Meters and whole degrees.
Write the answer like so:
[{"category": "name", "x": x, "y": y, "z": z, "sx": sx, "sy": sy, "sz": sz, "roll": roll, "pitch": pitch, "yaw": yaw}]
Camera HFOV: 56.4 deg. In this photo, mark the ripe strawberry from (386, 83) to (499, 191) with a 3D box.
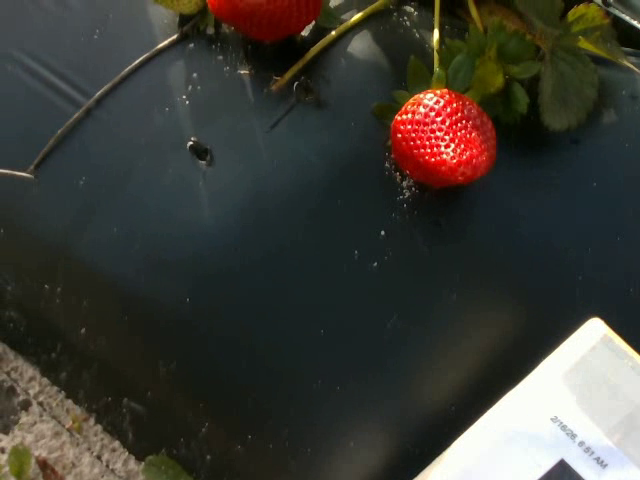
[{"category": "ripe strawberry", "x": 0.035, "y": -0.026, "z": 0.157, "sx": 0.037, "sy": 0.034, "sz": 0.039, "roll": -38, "pitch": 12, "yaw": 28}]
